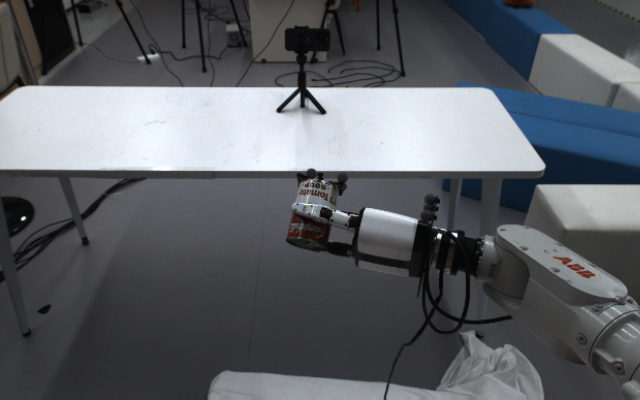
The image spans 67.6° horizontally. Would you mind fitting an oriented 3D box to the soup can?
[{"bbox_3d":[-0.010,0.024,0.780,0.067,0.067,0.101,9,72,10],"label":"soup can"}]
